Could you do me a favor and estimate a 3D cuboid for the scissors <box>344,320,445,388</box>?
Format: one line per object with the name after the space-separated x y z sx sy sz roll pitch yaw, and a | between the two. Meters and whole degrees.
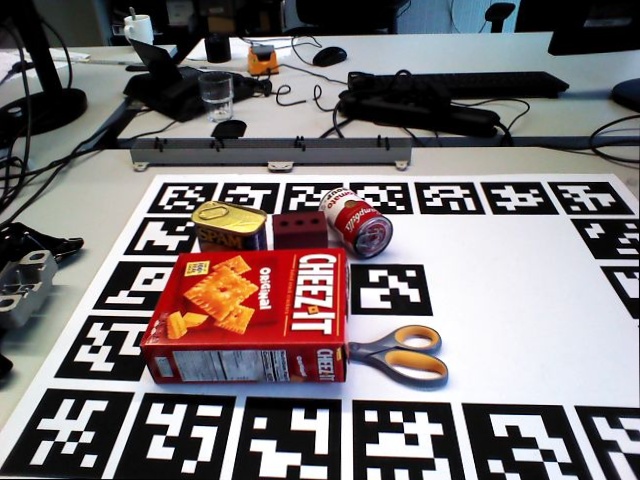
0.032 0.128 0.576 0.203 0.016 0.087 -3 39 1 | scissors

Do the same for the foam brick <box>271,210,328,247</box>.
-0.028 -0.005 0.740 0.078 0.051 0.052 -6 39 -4 | foam brick

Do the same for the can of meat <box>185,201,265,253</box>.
-0.126 0.000 0.711 0.102 0.084 0.057 10 41 15 | can of meat

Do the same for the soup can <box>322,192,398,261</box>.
0.055 -0.022 0.753 0.067 0.068 0.102 -25 38 -24 | soup can

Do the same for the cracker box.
-0.083 0.082 0.594 0.214 0.072 0.163 -6 37 3 | cracker box
